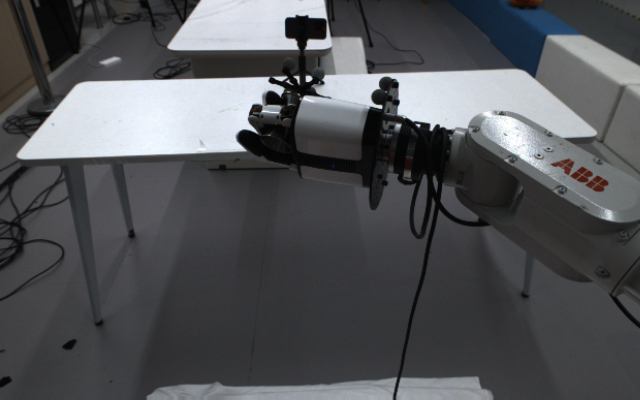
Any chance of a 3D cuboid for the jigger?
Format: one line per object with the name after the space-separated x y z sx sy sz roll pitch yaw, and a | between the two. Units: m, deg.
-0.044 -0.103 0.621 0.043 0.043 0.071 16 70 19 | jigger
